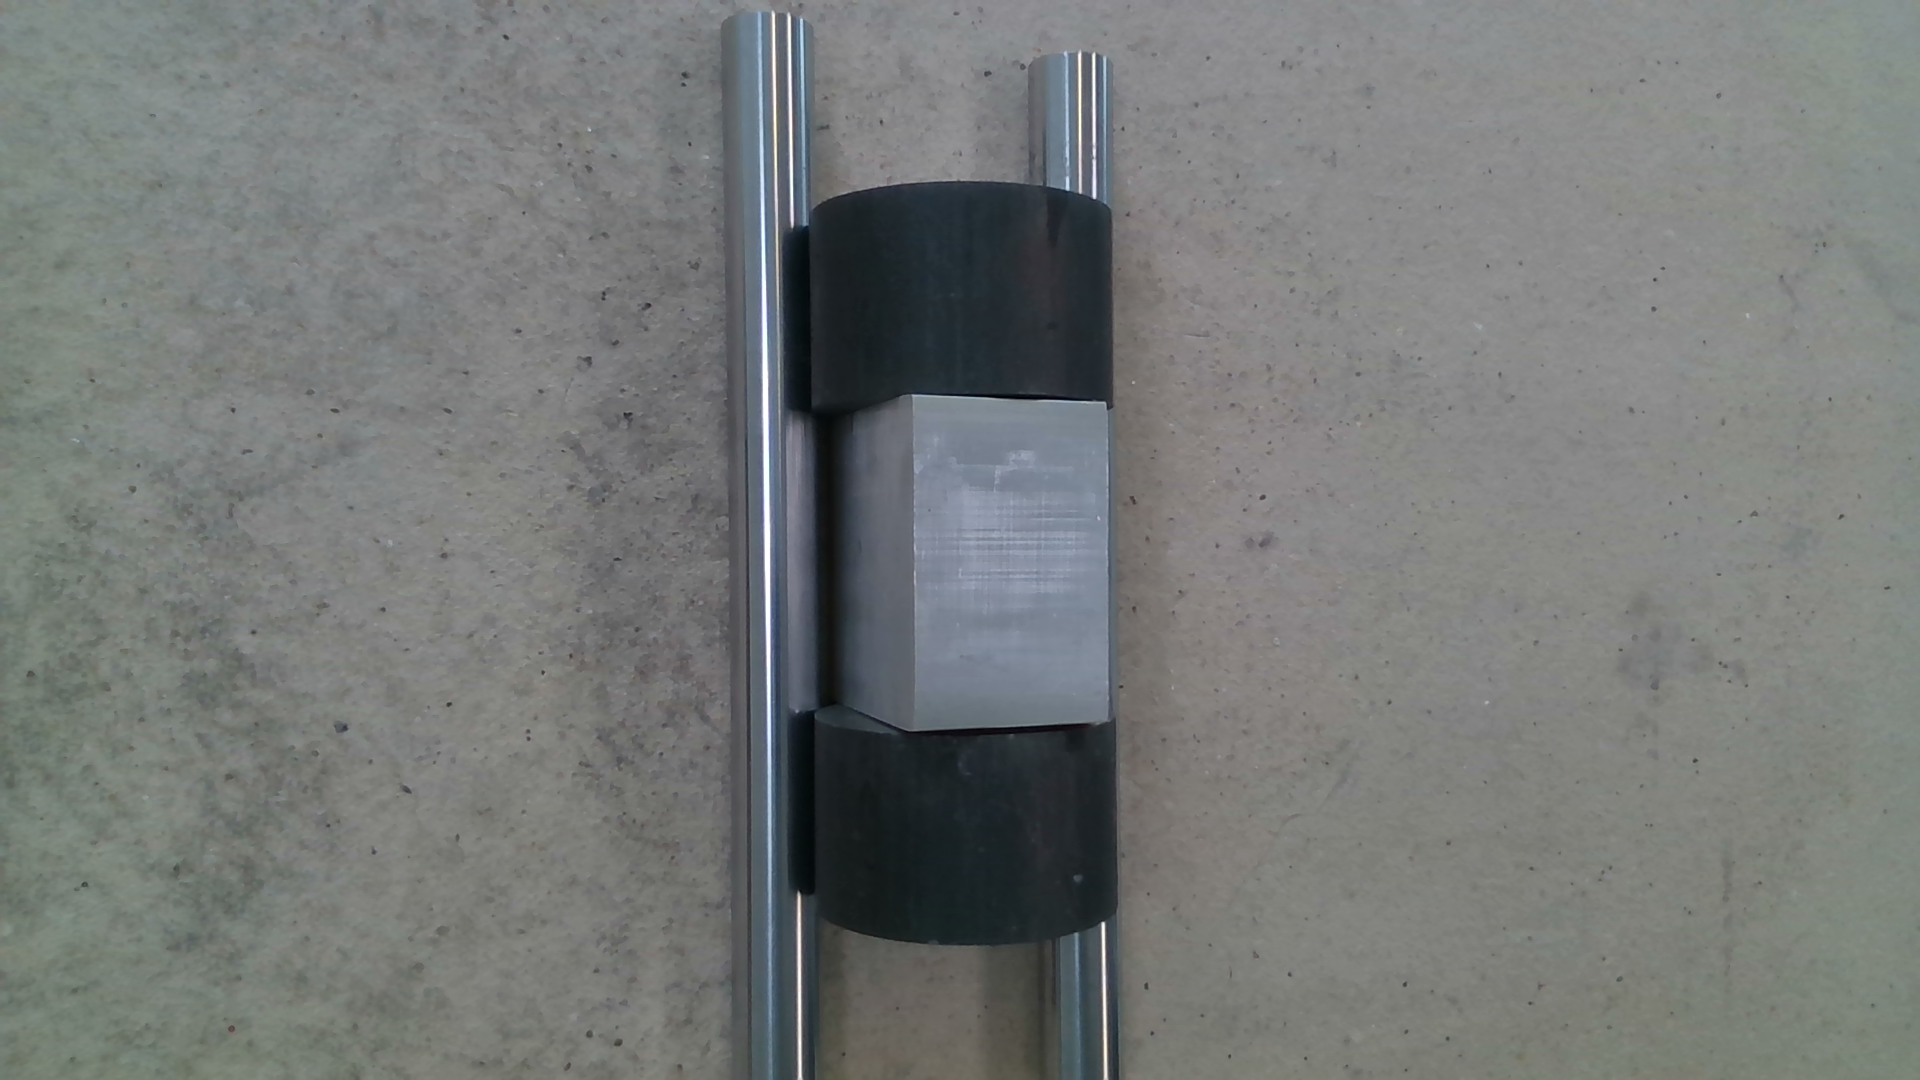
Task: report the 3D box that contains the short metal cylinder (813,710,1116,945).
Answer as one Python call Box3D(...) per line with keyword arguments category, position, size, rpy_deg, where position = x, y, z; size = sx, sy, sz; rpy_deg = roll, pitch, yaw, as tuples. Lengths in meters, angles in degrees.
Box3D(category="short metal cylinder", position=(0.002, 0.071, 0.365), size=(0.080, 0.080, 0.050), rpy_deg=(-1, 90, -20))

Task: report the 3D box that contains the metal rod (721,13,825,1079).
Box3D(category="metal rod", position=(-0.051, 0.011, 0.376), size=(0.025, 0.025, 0.300), rpy_deg=(-1, 90, -20))

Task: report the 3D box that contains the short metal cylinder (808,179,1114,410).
Box3D(category="short metal cylinder", position=(0.000, -0.060, 0.364), size=(0.080, 0.080, 0.050), rpy_deg=(-1, 90, -20))

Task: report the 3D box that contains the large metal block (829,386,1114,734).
Box3D(category="large metal block", position=(0.000, 0.005, 0.362), size=(0.050, 0.080, 0.080), rpy_deg=(0, 90, -20))

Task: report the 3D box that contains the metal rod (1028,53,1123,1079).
Box3D(category="metal rod", position=(0.034, 0.011, 0.407), size=(0.025, 0.025, 0.300), rpy_deg=(-1, 90, -20))
